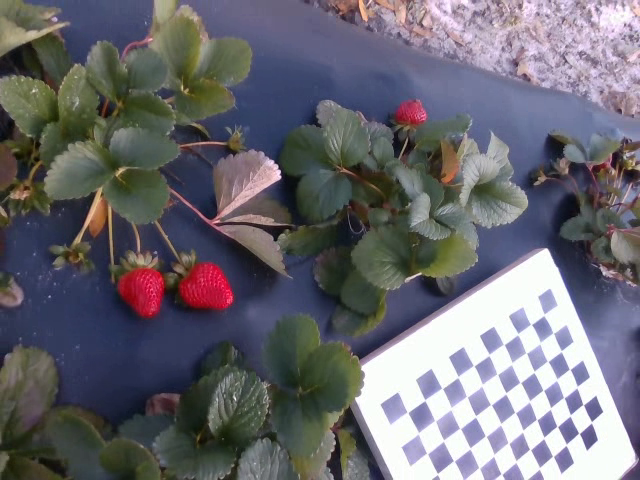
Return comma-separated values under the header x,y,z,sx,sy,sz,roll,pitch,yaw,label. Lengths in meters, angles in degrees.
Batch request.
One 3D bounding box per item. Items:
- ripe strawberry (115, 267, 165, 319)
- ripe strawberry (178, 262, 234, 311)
x,y,z,sx,sy,sz,roll,pitch,yaw,label
-0.174,0.053,0.601,0.048,0.056,0.041,-11,-27,-25,ripe strawberry
-0.115,0.050,0.622,0.064,0.058,0.051,32,-26,19,ripe strawberry
